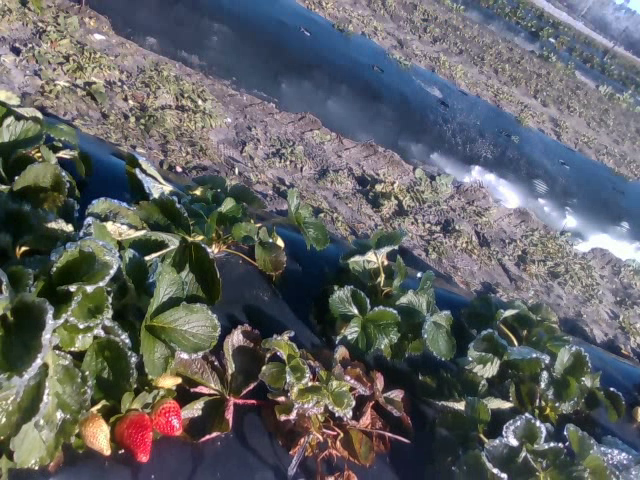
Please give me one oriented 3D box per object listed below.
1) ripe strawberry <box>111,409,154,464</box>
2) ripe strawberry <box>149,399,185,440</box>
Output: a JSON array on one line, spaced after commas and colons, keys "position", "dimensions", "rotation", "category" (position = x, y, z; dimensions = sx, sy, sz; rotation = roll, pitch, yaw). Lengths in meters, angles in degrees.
[{"position": [-0.167, 0.186, 0.570], "dimensions": [0.036, 0.040, 0.051], "rotation": [-17, 45, -27], "category": "ripe strawberry"}, {"position": [-0.146, 0.174, 0.602], "dimensions": [0.036, 0.041, 0.030], "rotation": [-45, 0, -27], "category": "ripe strawberry"}]
